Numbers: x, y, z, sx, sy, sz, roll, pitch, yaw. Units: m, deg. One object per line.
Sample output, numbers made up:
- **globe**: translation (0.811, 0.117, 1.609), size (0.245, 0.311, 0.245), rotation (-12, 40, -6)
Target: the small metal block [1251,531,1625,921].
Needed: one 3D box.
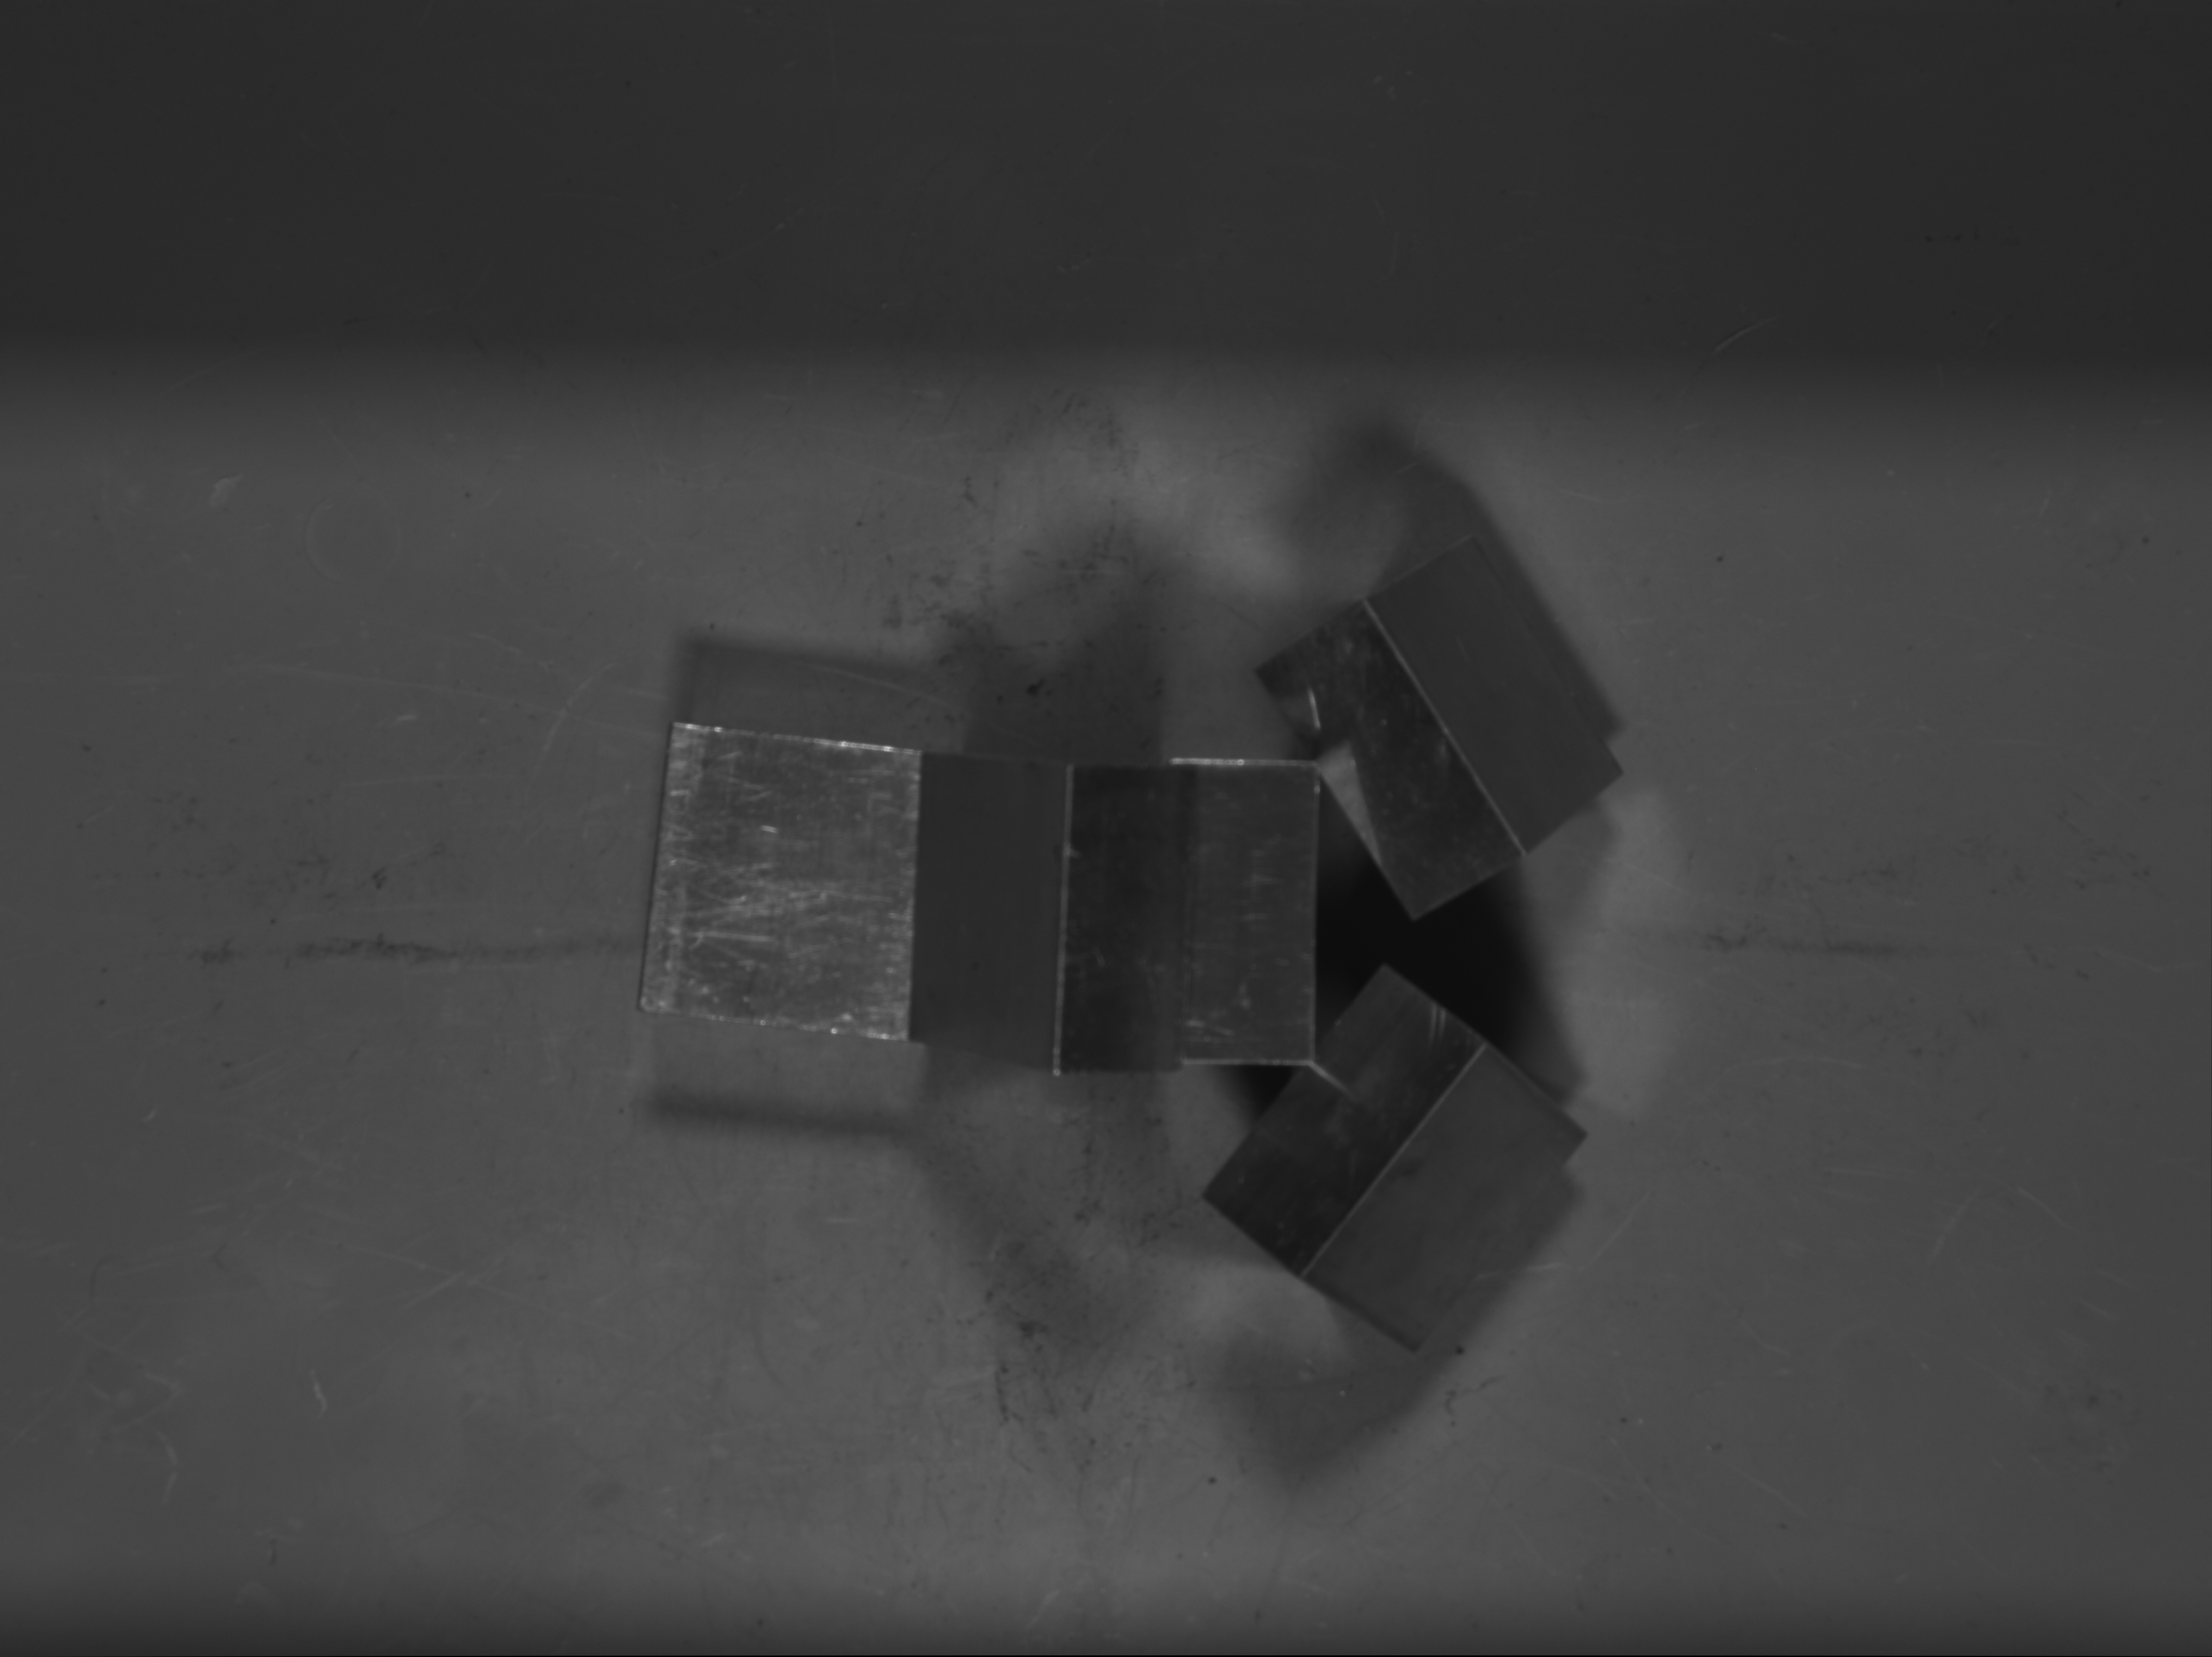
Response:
- **small metal block**: translation (0.058, -0.018, 0.629), size (0.025, 0.050, 0.050), rotation (-32, 90, 32)

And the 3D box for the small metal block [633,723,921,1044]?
- **small metal block**: translation (-0.054, 0.010, 0.642), size (0.050, 0.025, 0.050), rotation (7, 90, 0)

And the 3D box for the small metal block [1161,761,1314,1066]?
- **small metal block**: translation (0.021, 0.014, 0.632), size (0.025, 0.050, 0.050), rotation (1, 90, 0)

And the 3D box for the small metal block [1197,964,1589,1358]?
- **small metal block**: translation (0.050, 0.058, 0.629), size (0.025, 0.050, 0.050), rotation (38, 89, 35)

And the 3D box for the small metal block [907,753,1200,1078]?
- **small metal block**: translation (-0.009, 0.014, 0.613), size (0.025, 0.050, 0.050), rotation (1, 93, -32)
